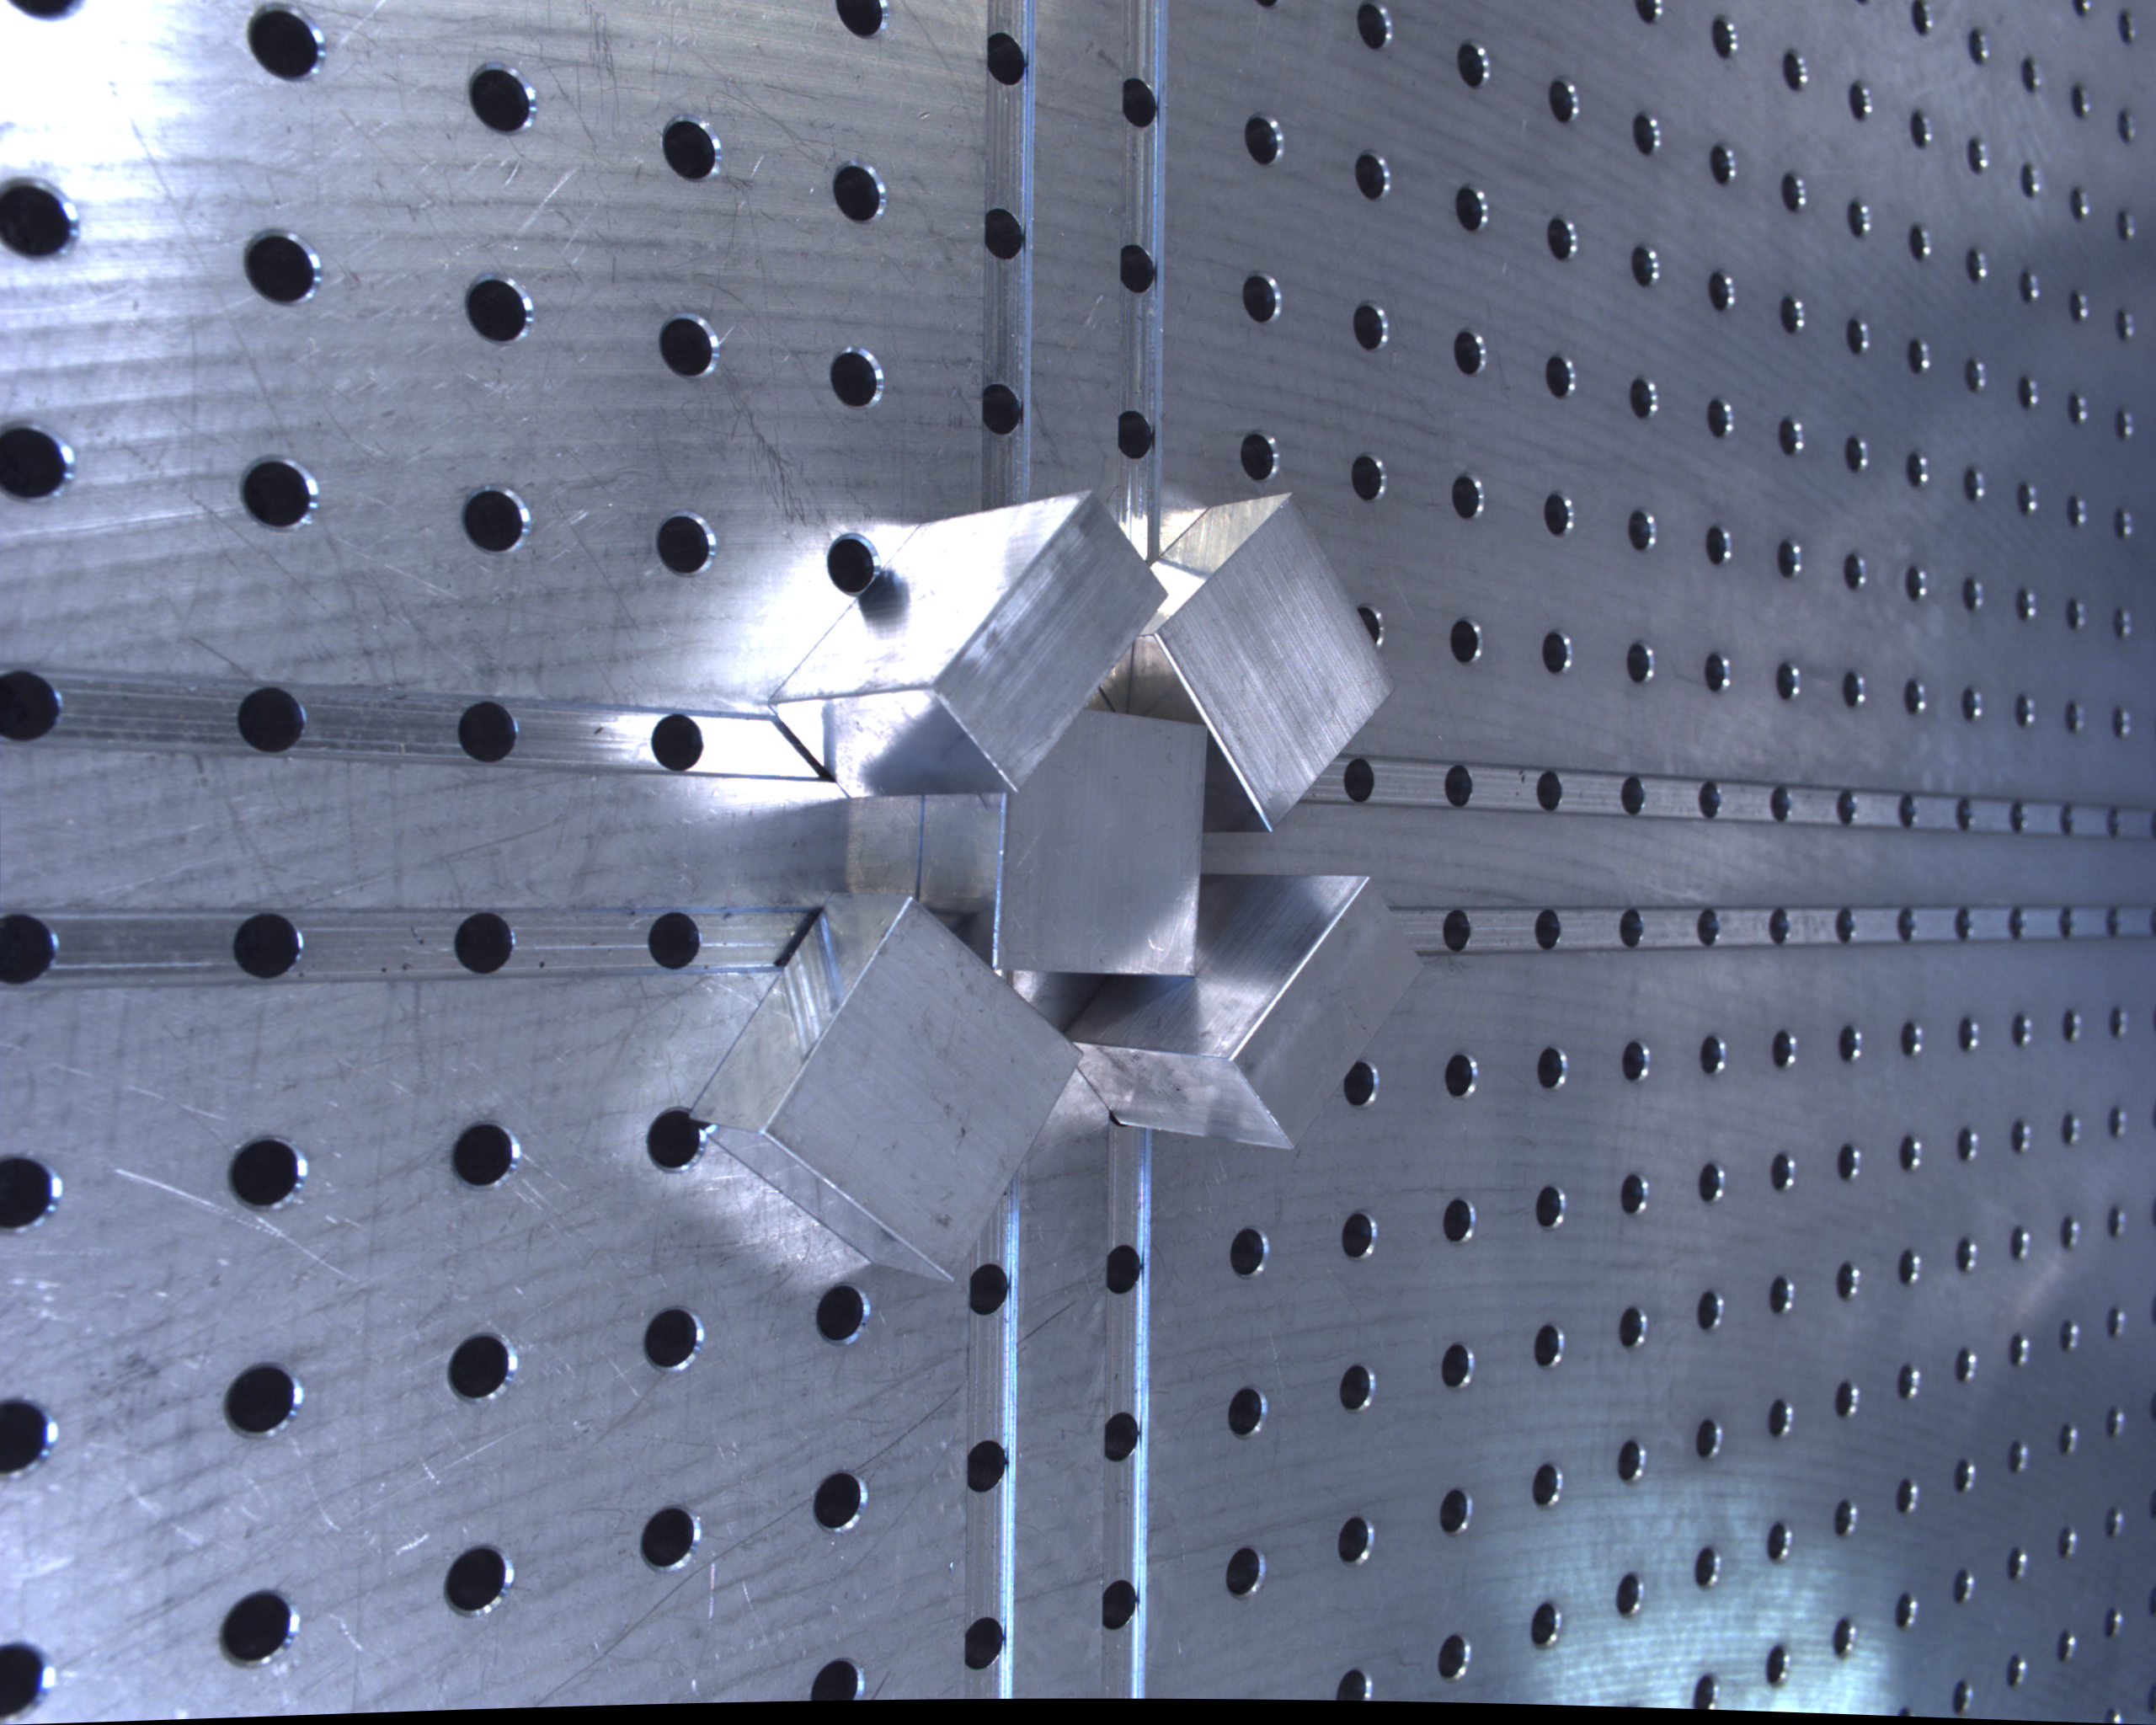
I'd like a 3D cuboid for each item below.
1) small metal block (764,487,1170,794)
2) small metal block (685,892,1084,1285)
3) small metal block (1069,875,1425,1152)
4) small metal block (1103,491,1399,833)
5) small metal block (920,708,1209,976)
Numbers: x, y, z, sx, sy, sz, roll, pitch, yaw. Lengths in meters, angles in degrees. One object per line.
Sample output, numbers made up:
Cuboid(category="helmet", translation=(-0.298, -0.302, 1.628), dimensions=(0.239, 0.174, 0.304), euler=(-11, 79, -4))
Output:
Cuboid(category="small metal block", translation=(-0.020, -0.039, 0.374), dimensions=(0.025, 0.050, 0.050), euler=(52, 60, -28))
Cuboid(category="small metal block", translation=(-0.034, 0.040, 0.379), dimensions=(0.050, 0.025, 0.050), euler=(46, 62, -31))
Cuboid(category="small metal block", translation=(0.033, 0.029, 0.419), dimensions=(0.050, 0.050, 0.025), euler=(-50, 119, -28))
Cuboid(category="small metal block", translation=(0.034, -0.041, 0.436), dimensions=(0.050, 0.025, 0.050), euler=(-47, 118, -29))
Cuboid(category="small metal block", translation=(-0.002, -0.004, 0.405), dimensions=(0.050, 0.025, 0.050), euler=(4, 86, -39))
